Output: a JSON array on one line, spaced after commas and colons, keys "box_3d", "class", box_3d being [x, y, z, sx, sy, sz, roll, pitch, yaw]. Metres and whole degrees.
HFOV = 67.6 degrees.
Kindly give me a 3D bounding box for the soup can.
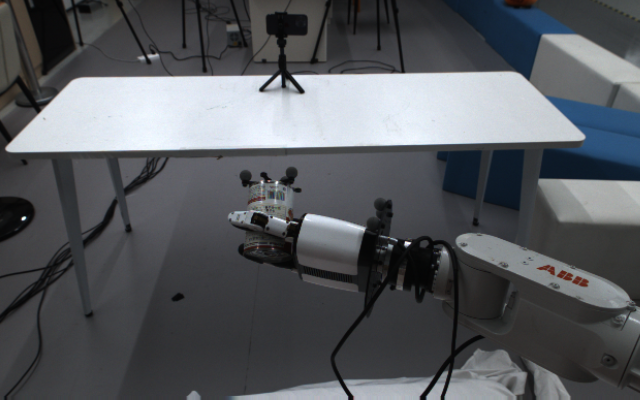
[{"box_3d": [-0.070, 0.031, 0.681, 0.067, 0.067, 0.101, 1, 68, -1], "class": "soup can"}]
